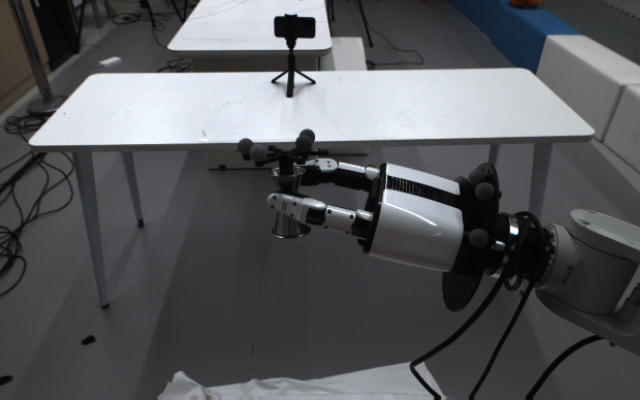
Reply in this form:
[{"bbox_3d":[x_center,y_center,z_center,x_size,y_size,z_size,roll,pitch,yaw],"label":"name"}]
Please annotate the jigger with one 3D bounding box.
[{"bbox_3d":[-0.033,0.002,0.515,0.043,0.071,0.043,-2,19,1],"label":"jigger"}]
